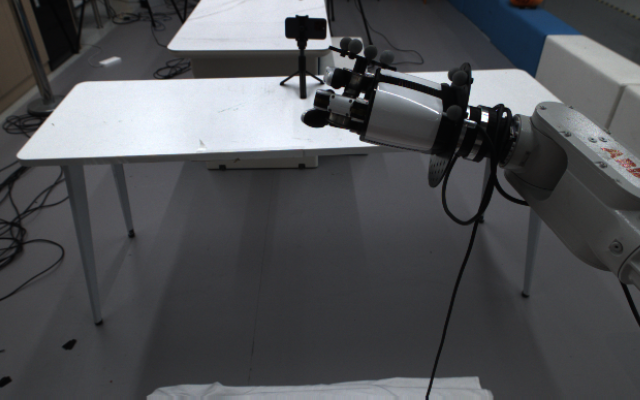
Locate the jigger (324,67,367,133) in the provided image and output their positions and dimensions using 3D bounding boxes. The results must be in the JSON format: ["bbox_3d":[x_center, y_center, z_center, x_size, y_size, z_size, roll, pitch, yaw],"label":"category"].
[{"bbox_3d":[0.035,-0.130,0.615,0.043,0.071,0.043,18,17,-6],"label":"jigger"}]
